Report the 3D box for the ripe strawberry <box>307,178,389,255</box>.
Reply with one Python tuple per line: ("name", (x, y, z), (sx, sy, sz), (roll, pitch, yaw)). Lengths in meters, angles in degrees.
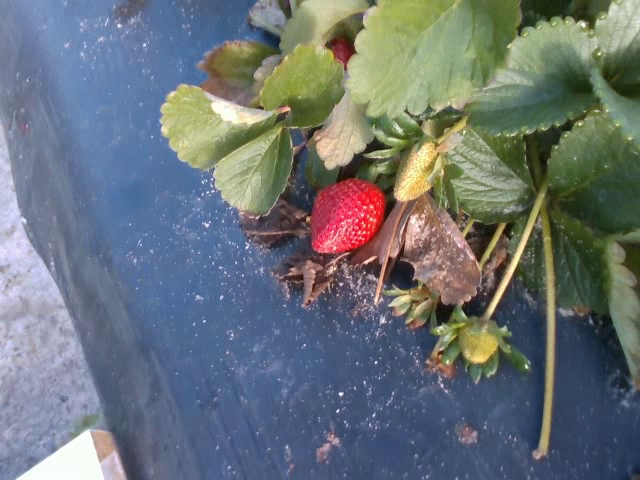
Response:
("ripe strawberry", (0.006, -0.007, 0.213), (0.031, 0.030, 0.026), (17, -33, 29))
